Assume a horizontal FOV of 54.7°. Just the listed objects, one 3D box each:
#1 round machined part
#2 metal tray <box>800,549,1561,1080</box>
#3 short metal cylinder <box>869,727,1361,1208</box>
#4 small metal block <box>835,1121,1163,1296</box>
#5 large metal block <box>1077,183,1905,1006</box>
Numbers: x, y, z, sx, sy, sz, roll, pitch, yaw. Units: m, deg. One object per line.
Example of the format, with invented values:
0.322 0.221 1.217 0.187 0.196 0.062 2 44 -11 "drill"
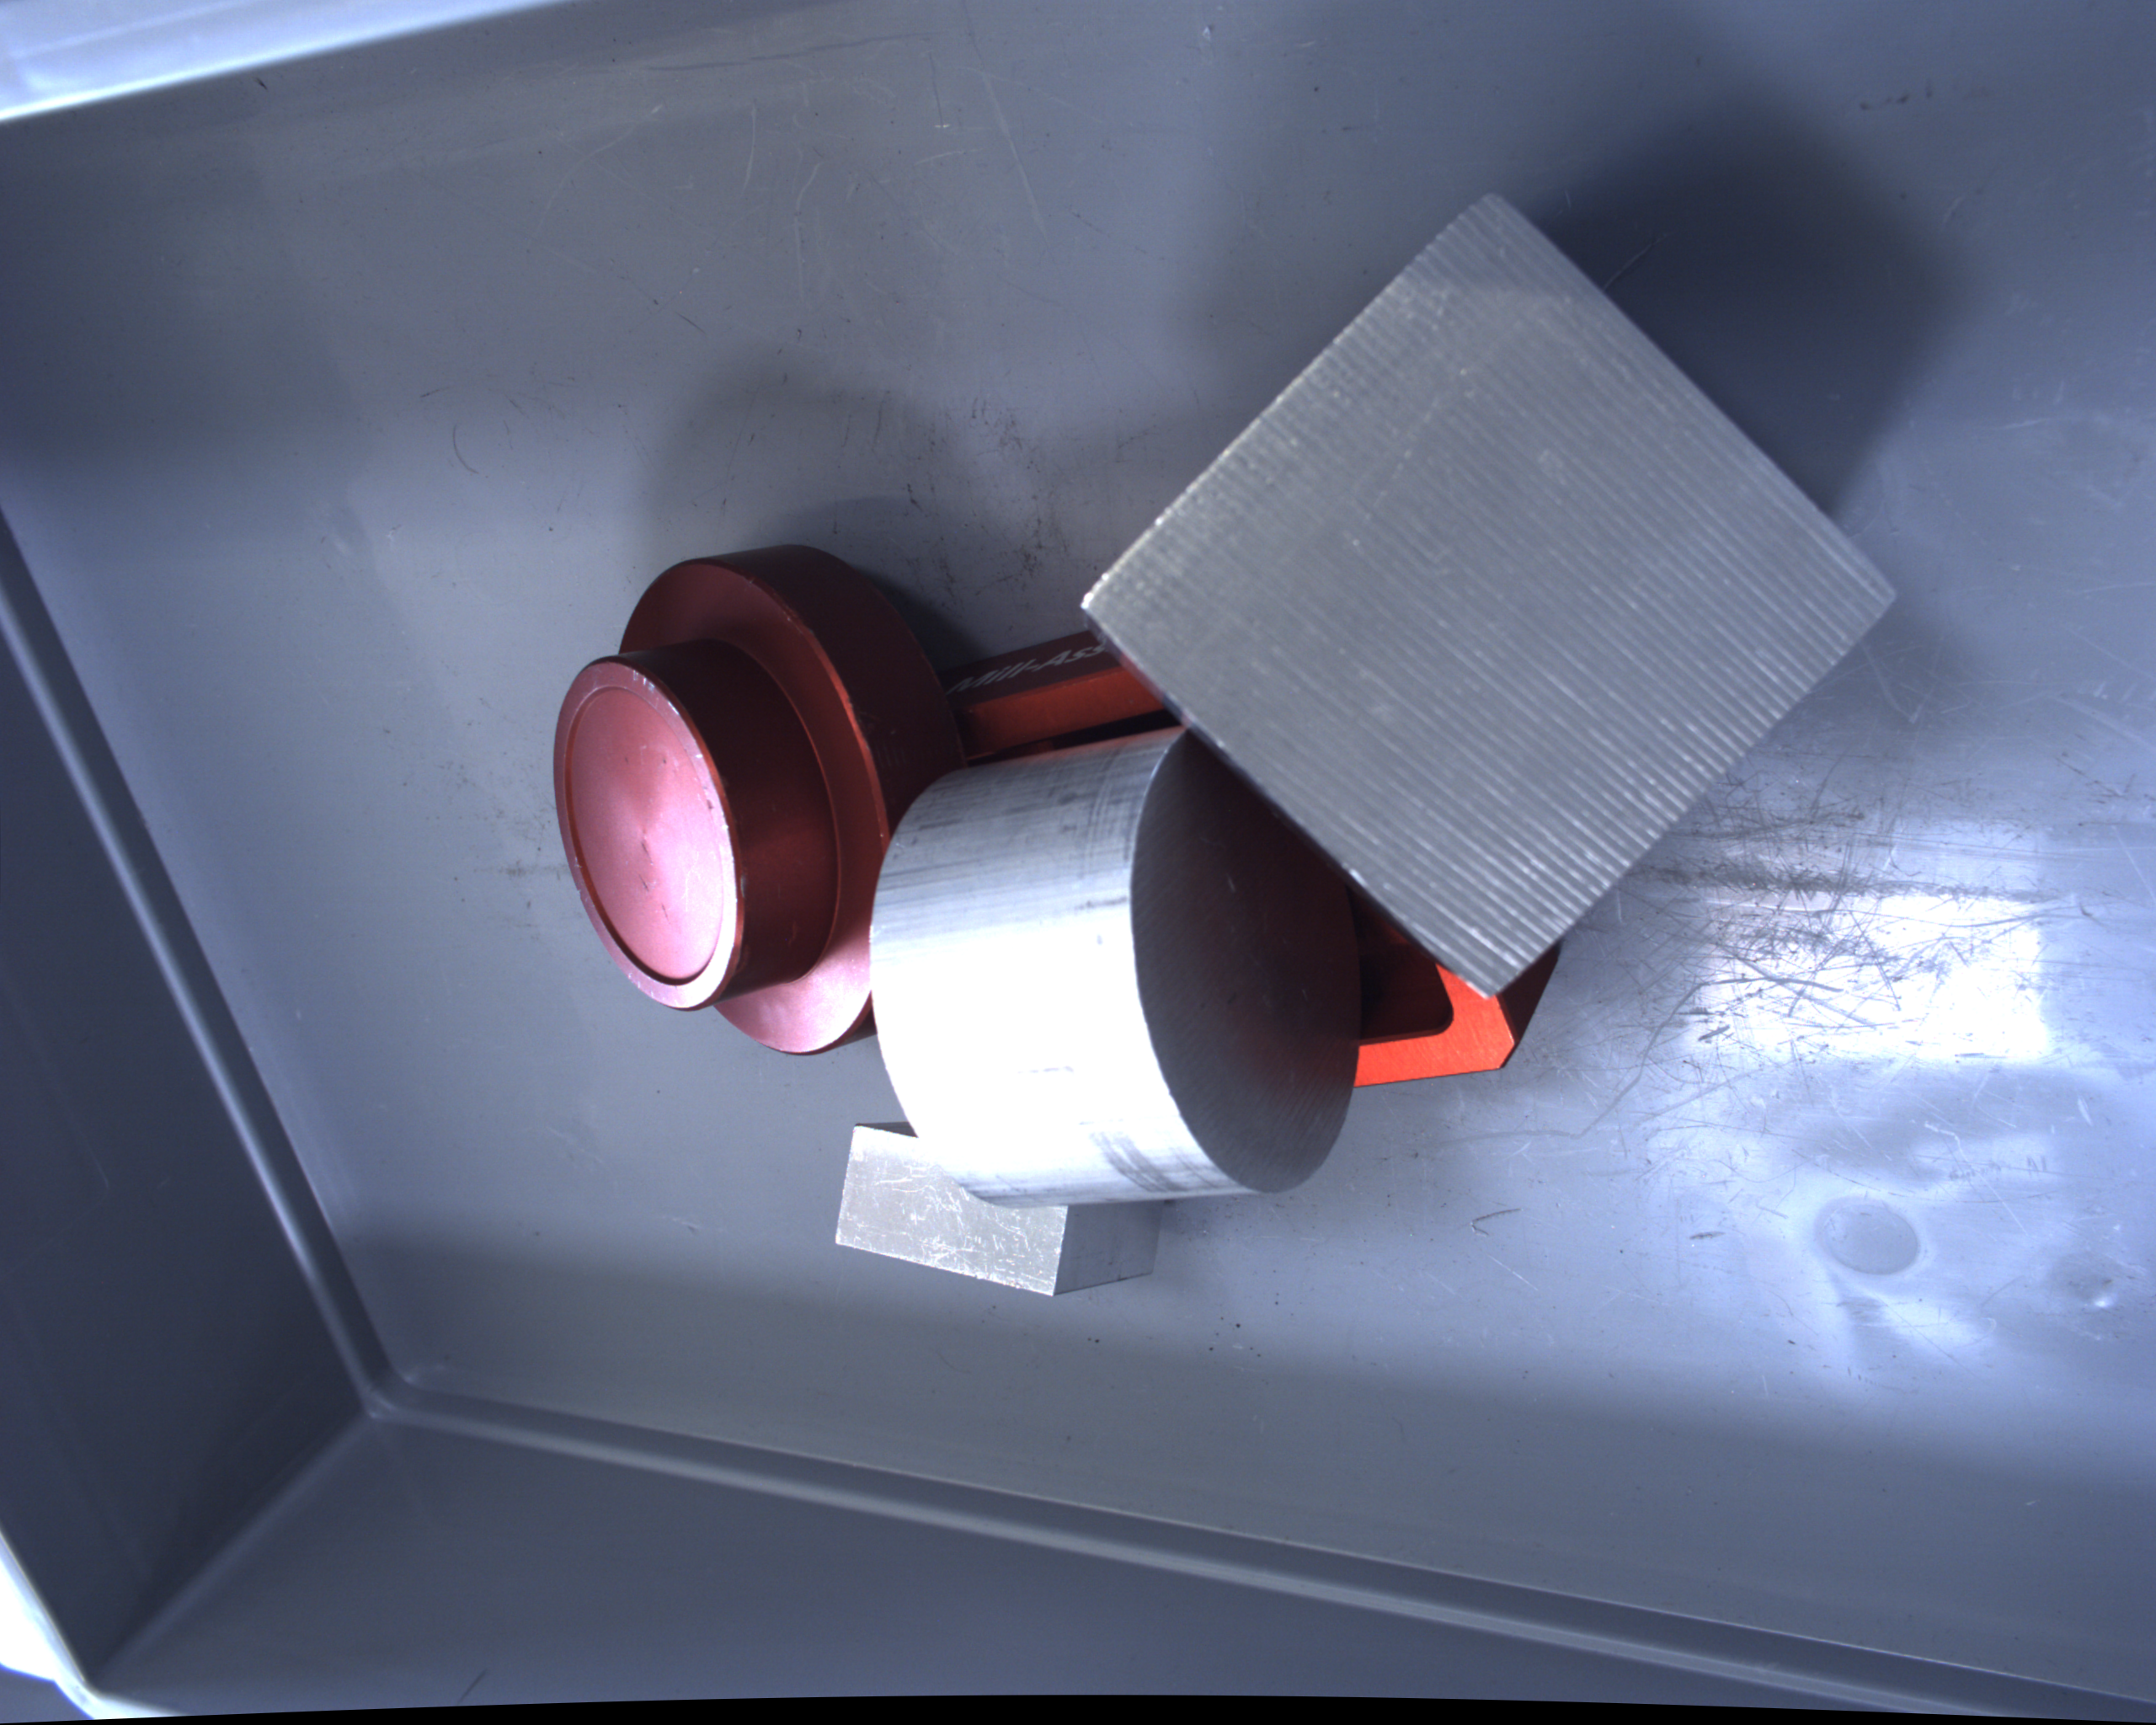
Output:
-0.065 -0.009 0.400 0.098 0.042 0.097 21 119 46 "round machined part"
0.014 0.001 0.398 0.130 0.030 0.090 -12 113 33 "metal tray"
0.009 0.019 0.362 0.050 0.080 0.080 -10 114 31 "short metal cylinder"
-0.015 0.071 0.439 0.050 0.050 0.025 8 88 25 "small metal block"
0.057 -0.038 0.311 0.080 0.050 0.080 43 92 -3 "large metal block"
